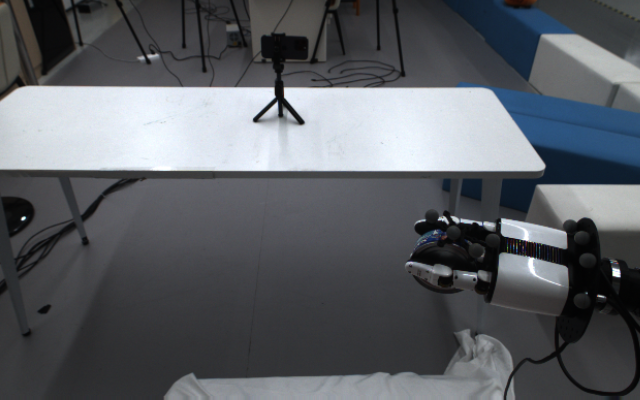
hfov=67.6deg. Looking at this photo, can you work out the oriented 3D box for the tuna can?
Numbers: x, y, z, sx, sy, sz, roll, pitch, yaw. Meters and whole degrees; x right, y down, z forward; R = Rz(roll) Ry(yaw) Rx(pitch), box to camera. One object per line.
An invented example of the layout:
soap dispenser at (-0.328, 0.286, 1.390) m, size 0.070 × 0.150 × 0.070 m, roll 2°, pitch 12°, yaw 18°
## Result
tuna can at (0.168, 0.079, 0.643) m, size 0.085 × 0.085 × 0.034 m, roll 12°, pitch 33°, yaw 14°
